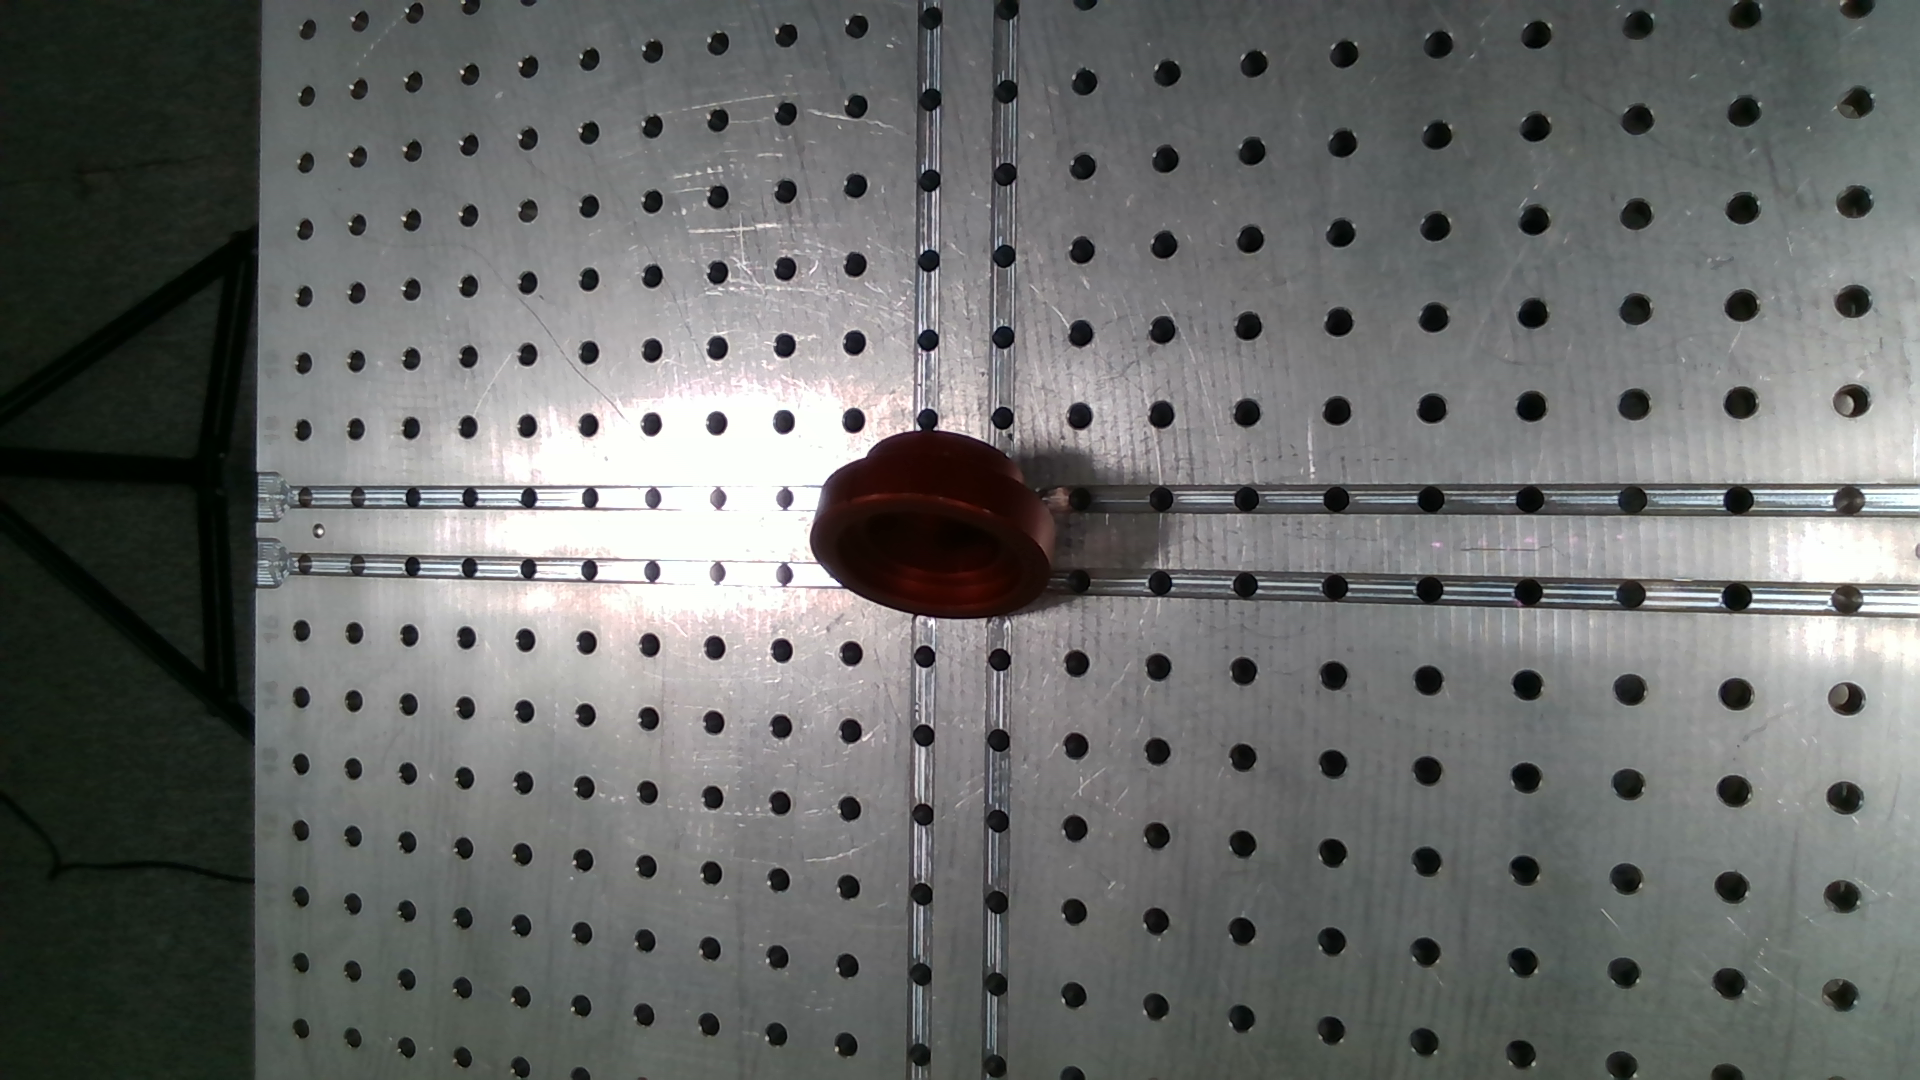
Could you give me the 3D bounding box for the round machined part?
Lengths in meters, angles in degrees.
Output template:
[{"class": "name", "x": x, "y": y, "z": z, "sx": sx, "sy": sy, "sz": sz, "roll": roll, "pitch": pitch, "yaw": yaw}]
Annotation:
[{"class": "round machined part", "x": -0.010, "y": -0.009, "z": 0.562, "sx": 0.098, "sy": 0.098, "sz": 0.042, "roll": -3, "pitch": 58, "yaw": 20}]
